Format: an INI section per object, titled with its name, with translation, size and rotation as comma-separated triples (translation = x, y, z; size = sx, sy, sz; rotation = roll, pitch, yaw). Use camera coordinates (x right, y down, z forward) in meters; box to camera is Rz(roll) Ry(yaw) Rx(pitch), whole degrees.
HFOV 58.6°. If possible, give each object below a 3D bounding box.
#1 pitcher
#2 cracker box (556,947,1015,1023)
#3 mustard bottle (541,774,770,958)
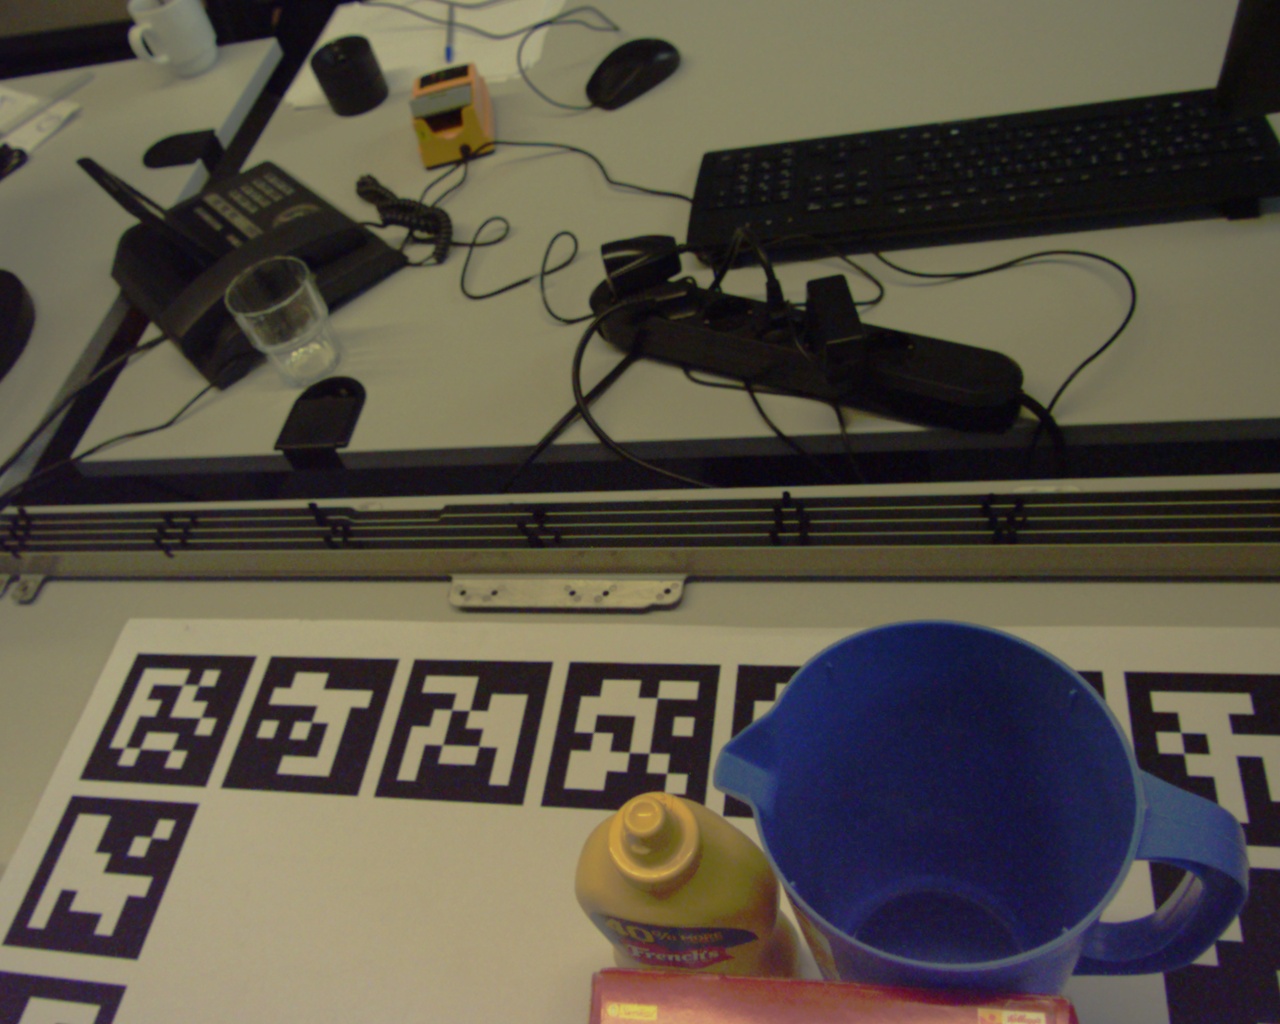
[pitcher]
translation = 0.130, 0.168, 0.514
size = 0.191, 0.240, 0.133
rotation = 3, 54, 21
[cracker box]
translation = 0.071, 0.253, 0.471
size = 0.165, 0.211, 0.072
rotation = -4, 50, 16
[mustard bottle]
translation = 0.003, 0.178, 0.560
size = 0.097, 0.190, 0.058
rotation = 10, 57, 23
